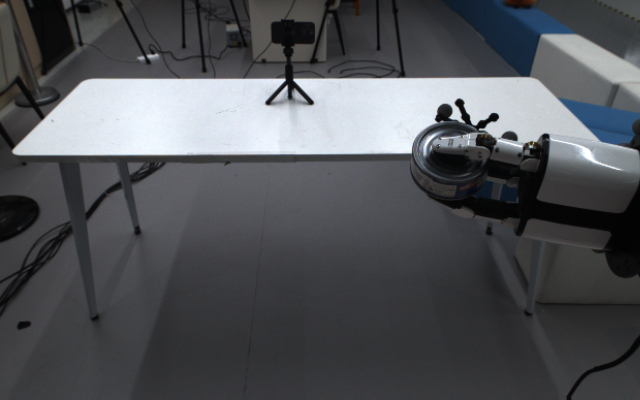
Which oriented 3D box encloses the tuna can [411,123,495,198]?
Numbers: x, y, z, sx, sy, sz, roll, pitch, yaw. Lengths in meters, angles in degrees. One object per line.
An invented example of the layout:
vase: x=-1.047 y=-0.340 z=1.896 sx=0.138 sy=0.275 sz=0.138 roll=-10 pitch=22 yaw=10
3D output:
tuna can: x=0.148 y=-0.038 z=0.529 sx=0.085 sy=0.034 sz=0.085 roll=-4 pitch=58 yaw=6
